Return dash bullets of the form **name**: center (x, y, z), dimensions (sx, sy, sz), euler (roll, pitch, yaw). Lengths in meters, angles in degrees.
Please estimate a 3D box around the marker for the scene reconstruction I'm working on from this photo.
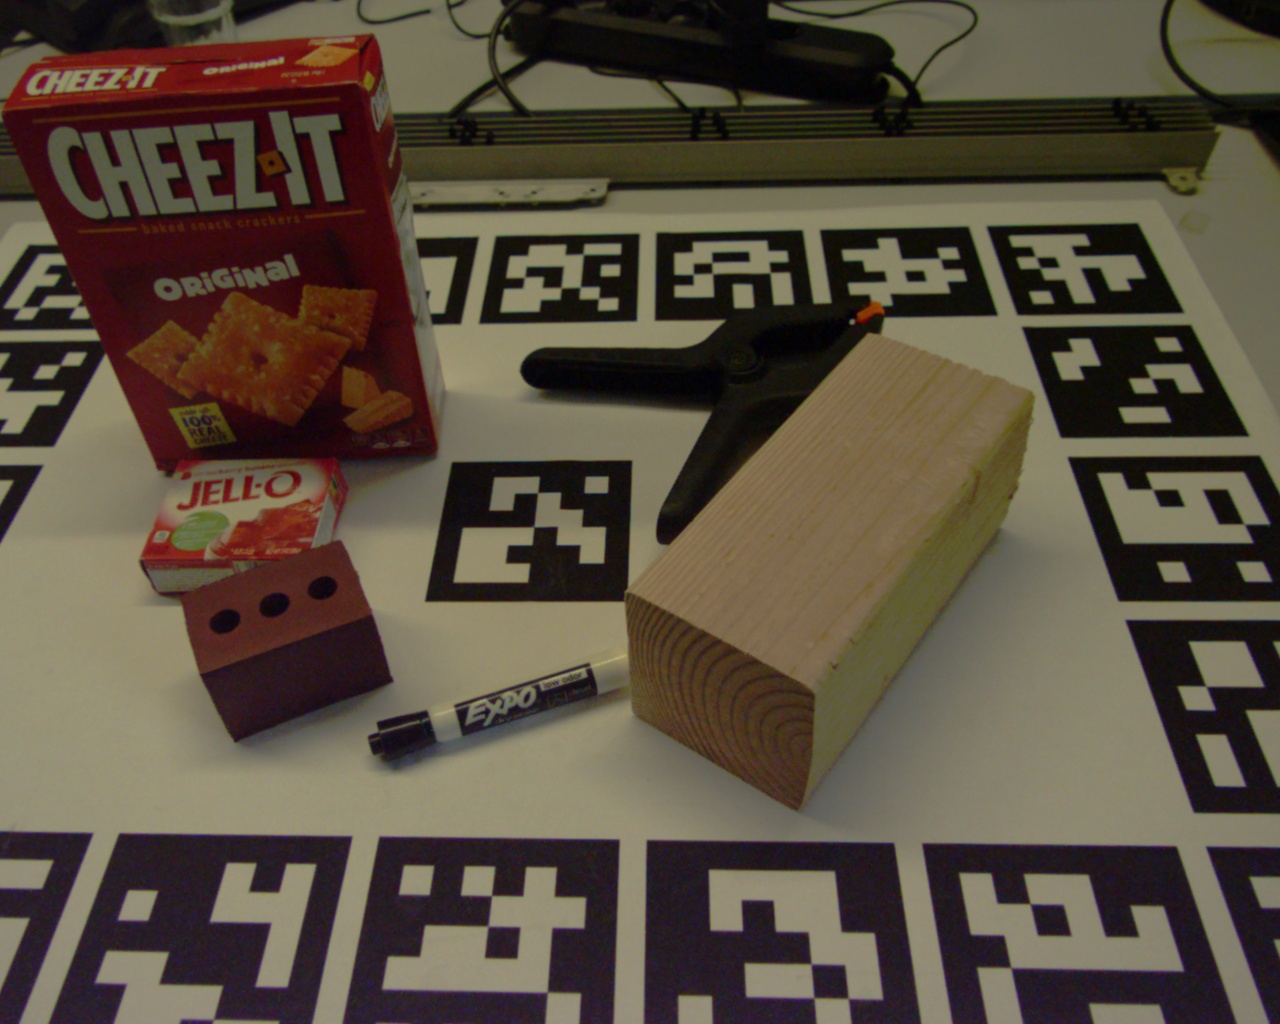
- **marker**: center (-0.077, 0.093, 0.541), dimensions (0.120, 0.019, 0.020), euler (-16, 51, -10)

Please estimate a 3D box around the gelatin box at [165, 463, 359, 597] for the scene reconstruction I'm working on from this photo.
- **gelatin box**: center (-0.205, 0.009, 0.623), dimensions (0.089, 0.030, 0.073), euler (-1, 50, 3)

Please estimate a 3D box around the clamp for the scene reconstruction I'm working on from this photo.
- **clamp**: center (0.051, -0.074, 0.672), dimensions (0.201, 0.036, 0.167), euler (-25, 52, -17)

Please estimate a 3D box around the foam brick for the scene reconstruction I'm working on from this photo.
- **foam brick**: center (-0.166, 0.061, 0.556), dimensions (0.077, 0.051, 0.053), euler (-19, 52, -13)

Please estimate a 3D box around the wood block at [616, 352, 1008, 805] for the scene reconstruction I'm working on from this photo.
- **wood block**: center (0.086, 0.023, 0.552), dimensions (0.091, 0.090, 0.205), euler (26, 52, 27)

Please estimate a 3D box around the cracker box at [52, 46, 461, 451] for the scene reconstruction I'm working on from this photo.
- **cracker box**: center (-0.192, -0.131, 0.616), dimensions (0.164, 0.213, 0.072), euler (-2, 47, -1)
